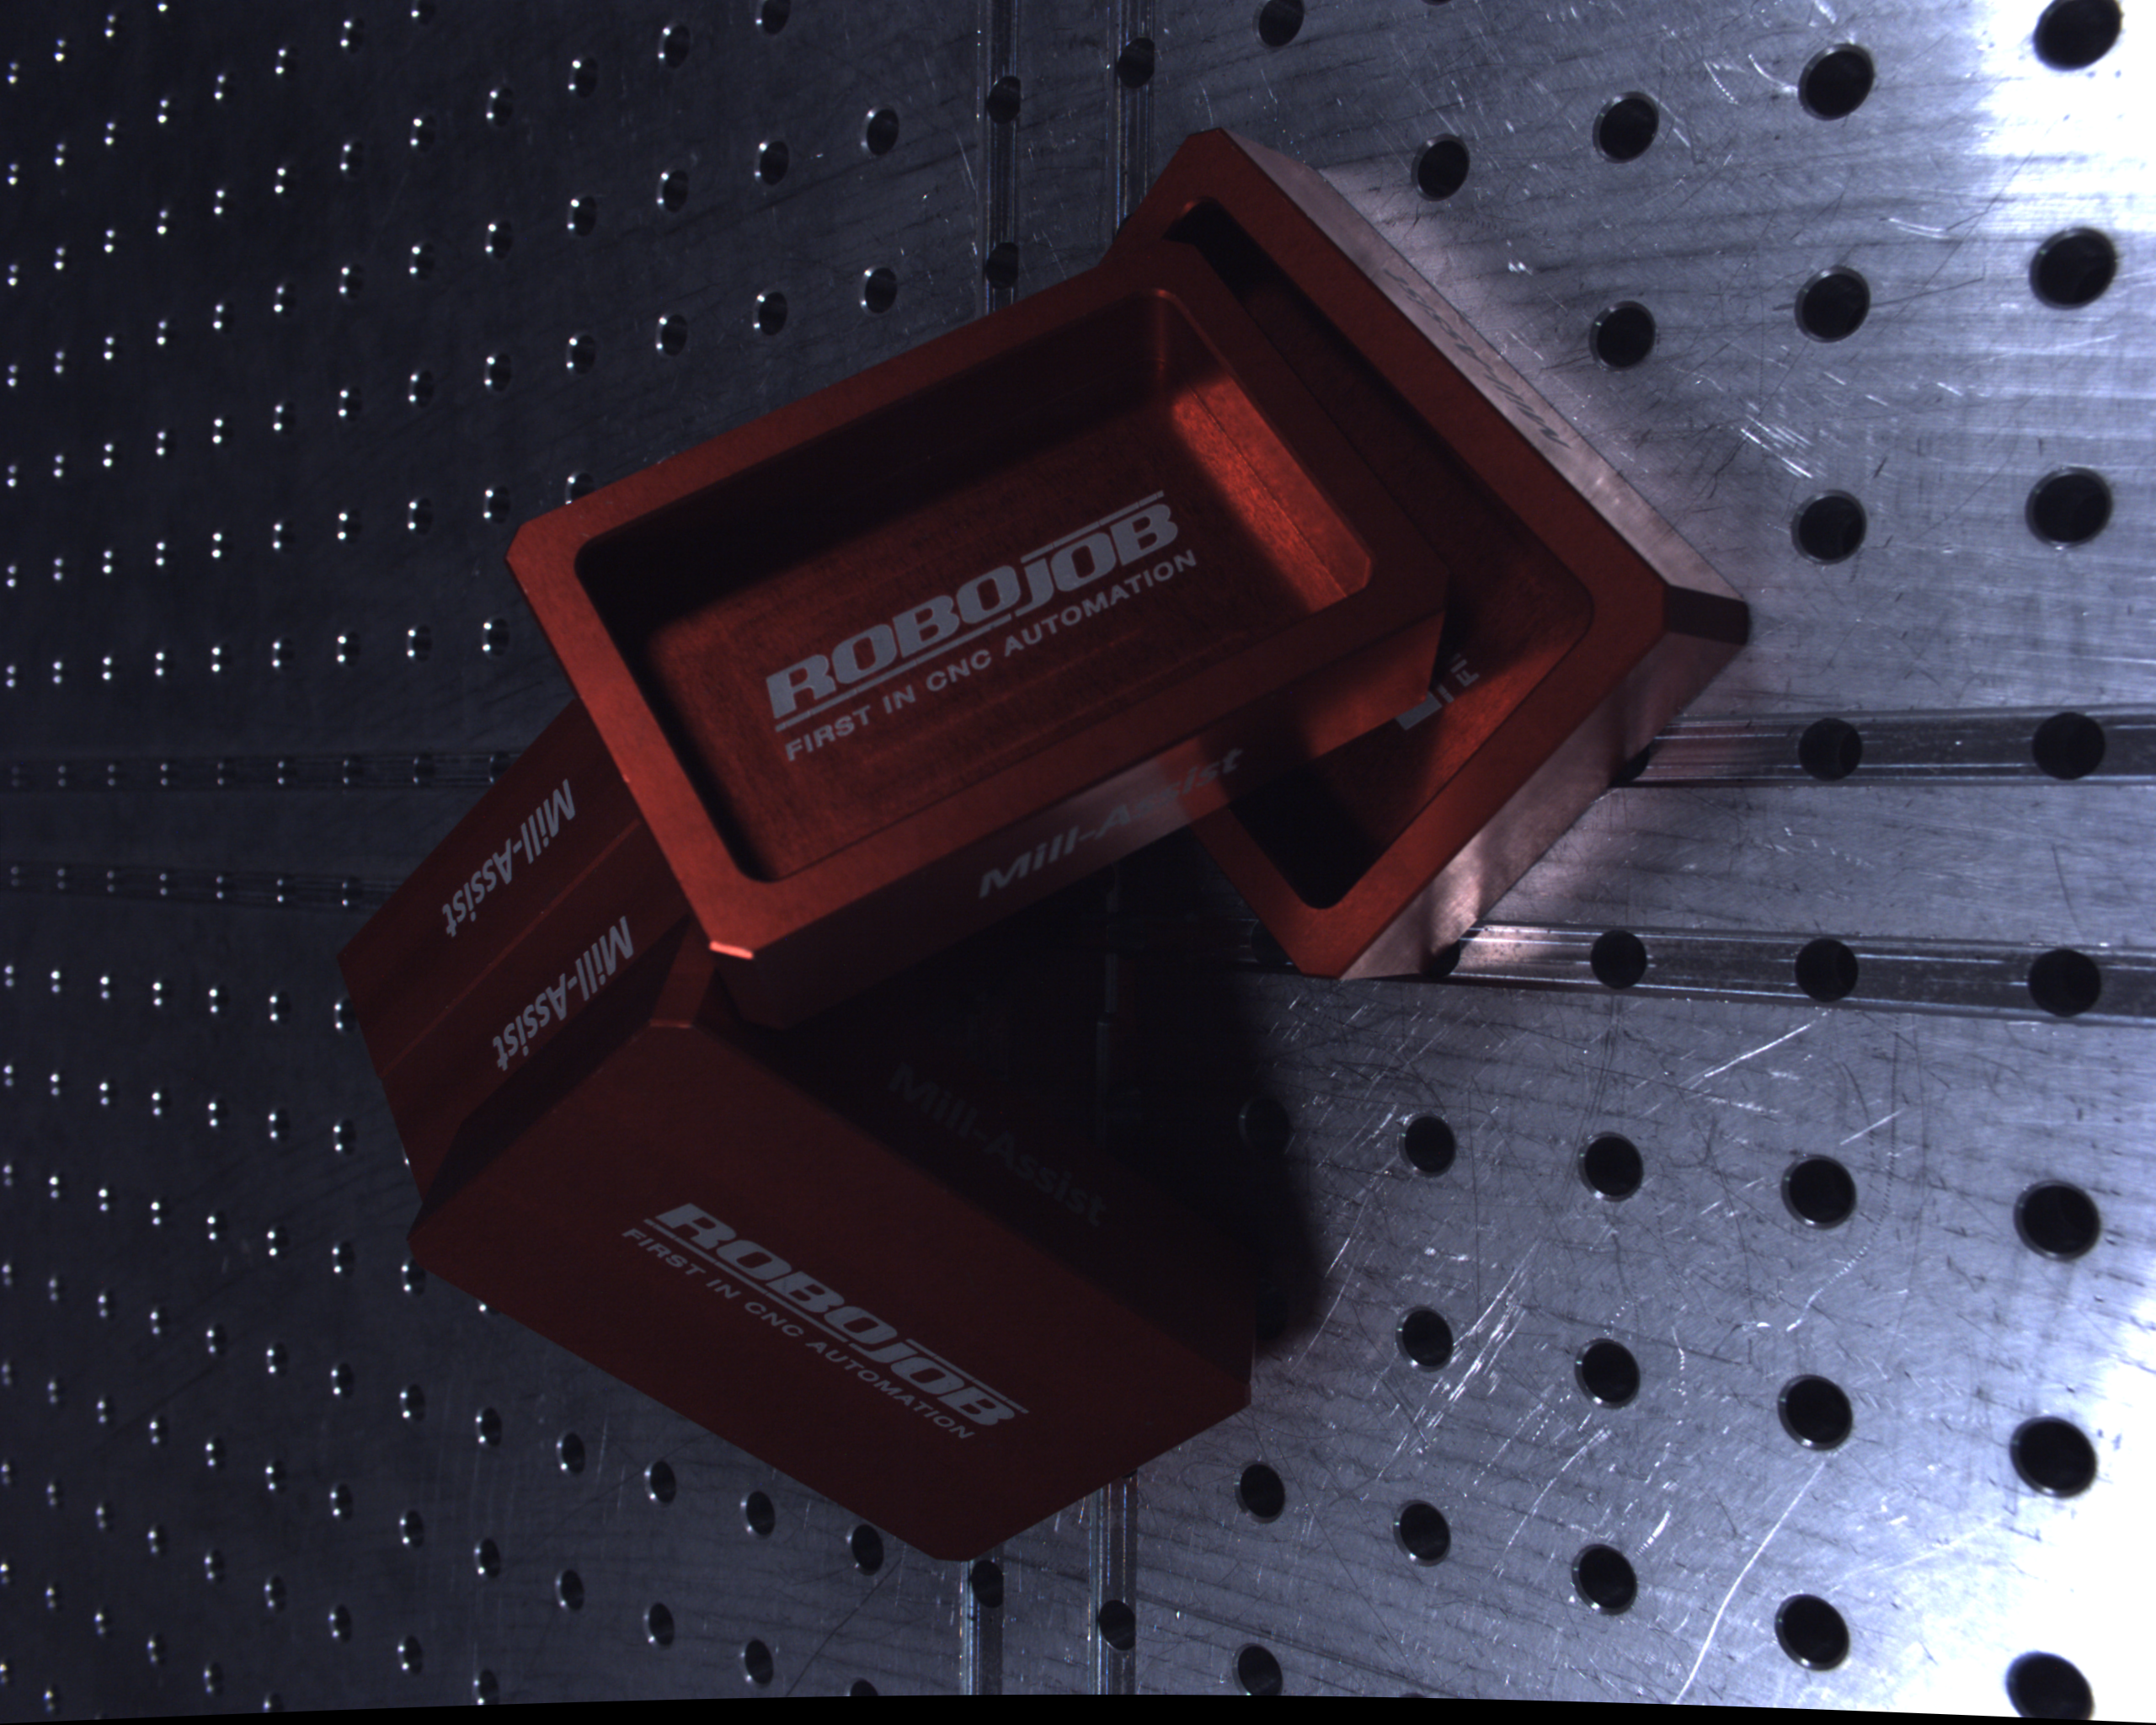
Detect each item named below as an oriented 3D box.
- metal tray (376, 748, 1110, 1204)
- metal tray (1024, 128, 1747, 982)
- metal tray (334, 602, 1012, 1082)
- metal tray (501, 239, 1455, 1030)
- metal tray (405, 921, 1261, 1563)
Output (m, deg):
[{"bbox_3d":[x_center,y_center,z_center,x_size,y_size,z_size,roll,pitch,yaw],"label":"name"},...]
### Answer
[{"bbox_3d":[-0.067,0.024,0.418,0.130,0.091,0.030,-39,66,32],"label":"metal tray"},{"bbox_3d":[0.041,-0.054,0.369,0.090,0.030,0.130,-51,61,27],"label":"metal tray"},{"bbox_3d":[-0.080,-0.001,0.430,0.130,0.091,0.030,-39,66,32],"label":"metal tray"},{"bbox_3d":[-0.016,-0.041,0.347,0.131,0.030,0.090,-27,66,-11],"label":"metal tray"},{"bbox_3d":[-0.042,0.073,0.382,0.090,0.130,0.030,-39,25,33],"label":"metal tray"}]
